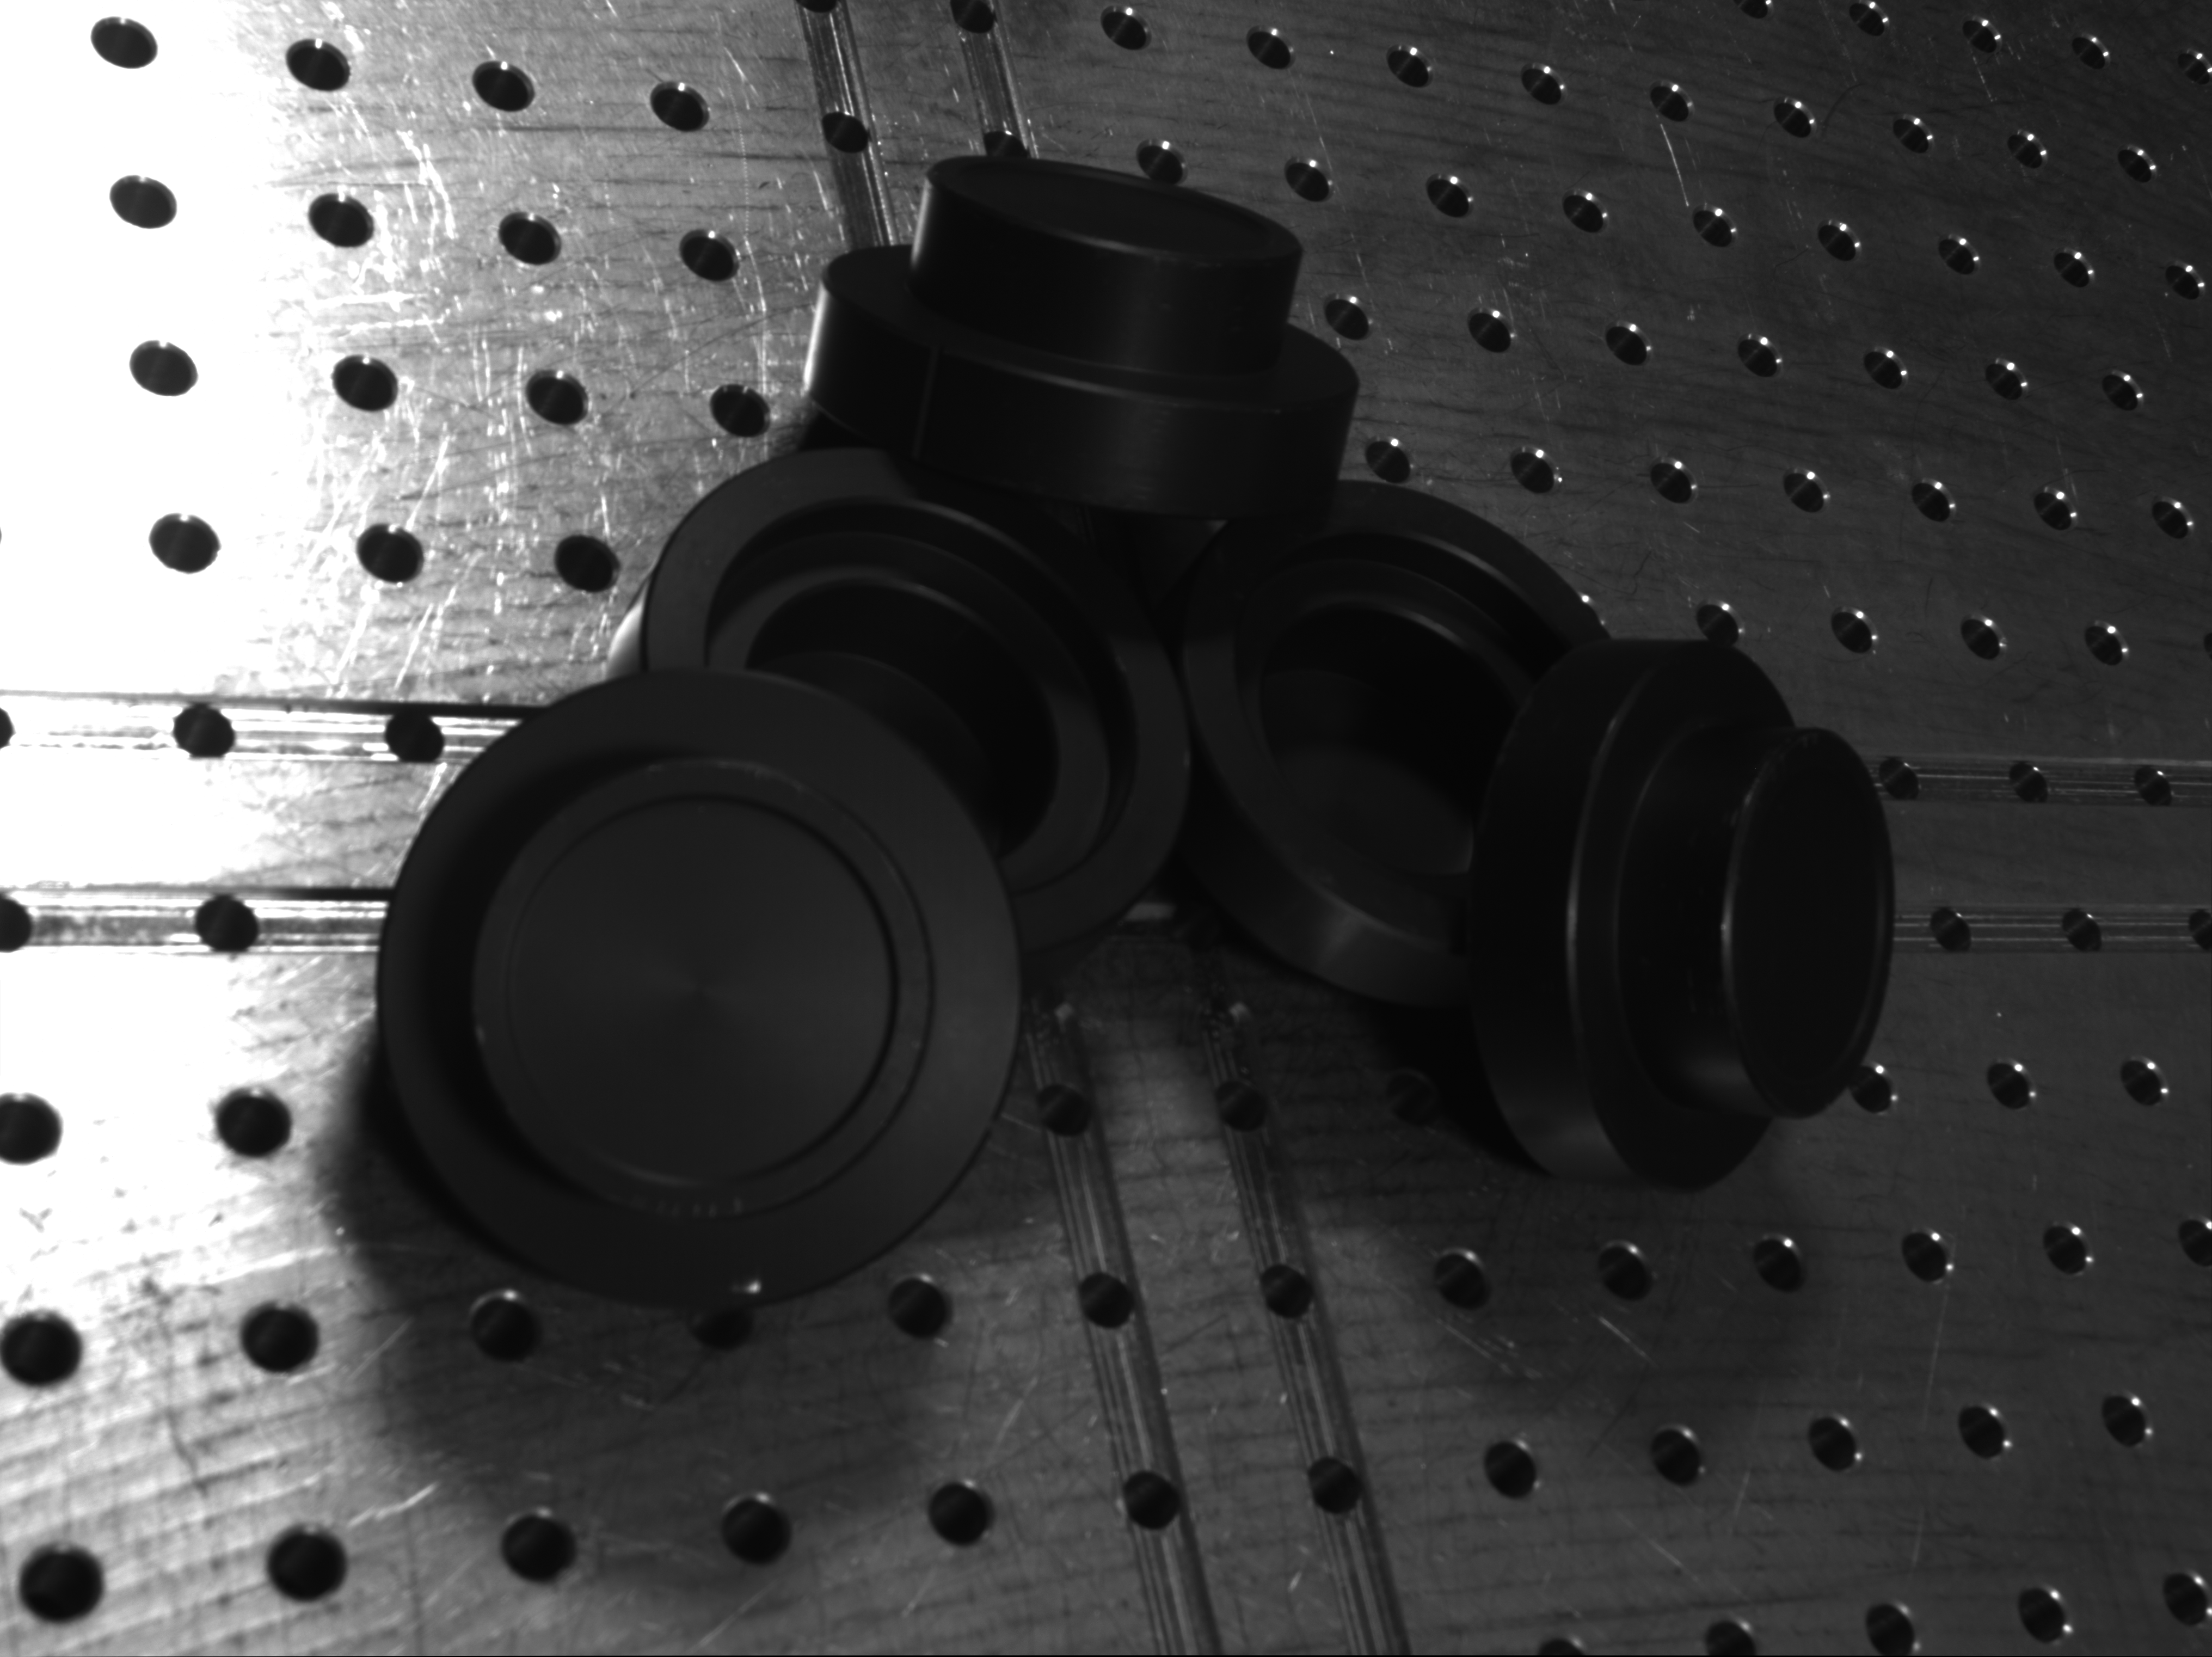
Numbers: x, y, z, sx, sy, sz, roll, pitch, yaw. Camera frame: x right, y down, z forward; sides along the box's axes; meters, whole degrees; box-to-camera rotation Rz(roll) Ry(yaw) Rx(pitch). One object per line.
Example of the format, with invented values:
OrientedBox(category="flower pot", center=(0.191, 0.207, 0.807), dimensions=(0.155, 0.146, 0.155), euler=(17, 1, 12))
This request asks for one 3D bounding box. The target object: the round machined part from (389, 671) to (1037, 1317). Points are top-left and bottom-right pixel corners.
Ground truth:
OrientedBox(category="round machined part", center=(-0.059, 0.025, 0.555), dimensions=(0.098, 0.042, 0.098), euler=(0, 88, -6))

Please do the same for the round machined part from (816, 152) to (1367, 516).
OrientedBox(category="round machined part", center=(-0.001, -0.092, 0.655), dimensions=(0.098, 0.042, 0.098), euler=(10, 21, -4))

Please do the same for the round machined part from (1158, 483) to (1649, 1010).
OrientedBox(category="round machined part", center=(0.051, -0.011, 0.666), dimensions=(0.098, 0.042, 0.098), euler=(14, 56, -21))

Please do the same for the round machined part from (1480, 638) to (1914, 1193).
OrientedBox(category="round machined part", center=(0.109, 0.015, 0.646), dimensions=(0.098, 0.042, 0.098), euler=(-3, 93, -53))

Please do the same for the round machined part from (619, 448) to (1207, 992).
OrientedBox(category="round machined part", center=(-0.036, -0.012, 0.619), dimensions=(0.098, 0.042, 0.098), euler=(14, 56, -21))
